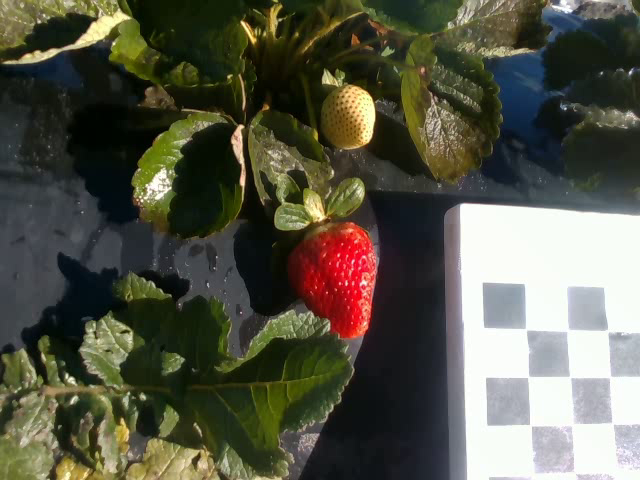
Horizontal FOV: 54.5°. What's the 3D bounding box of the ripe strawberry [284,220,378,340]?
[{"bbox_3d":[0.009,0.021,0.306,0.048,0.069,0.040,-15,-12,-15],"label":"ripe strawberry"}]
